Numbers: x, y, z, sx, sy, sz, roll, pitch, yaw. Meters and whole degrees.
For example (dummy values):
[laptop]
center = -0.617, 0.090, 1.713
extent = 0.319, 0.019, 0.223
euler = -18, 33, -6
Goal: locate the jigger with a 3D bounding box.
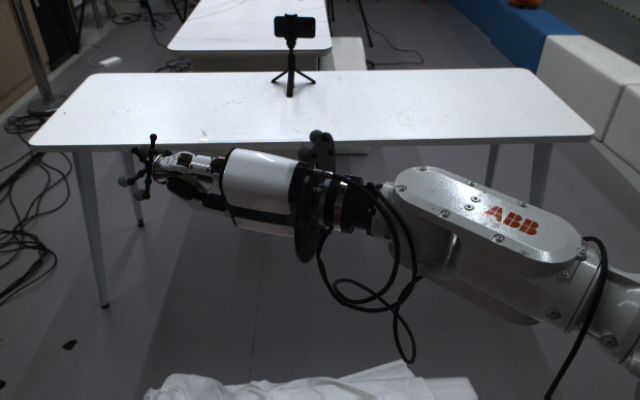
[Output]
[jigger]
center = -0.175, -0.039, 0.635
extent = 0.071, 0.043, 0.043
euler = 10, 35, 16
